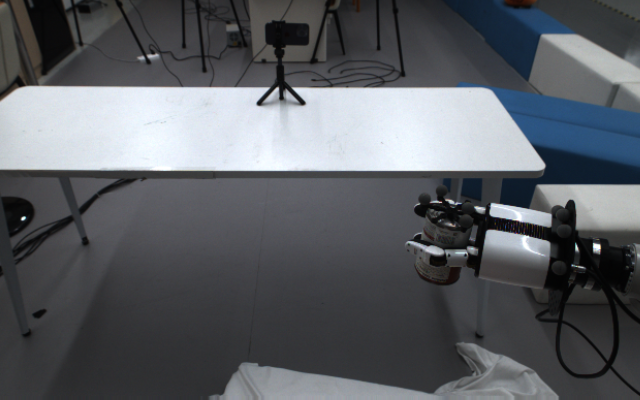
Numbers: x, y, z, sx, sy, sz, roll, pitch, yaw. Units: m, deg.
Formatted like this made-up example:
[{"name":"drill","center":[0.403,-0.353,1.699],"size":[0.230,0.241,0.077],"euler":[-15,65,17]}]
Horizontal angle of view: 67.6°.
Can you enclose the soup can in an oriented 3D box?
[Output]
[{"name":"soup can","center":[0.181,0.064,0.705],"size":[0.067,0.101,0.067],"euler":[4,30,-2]}]
